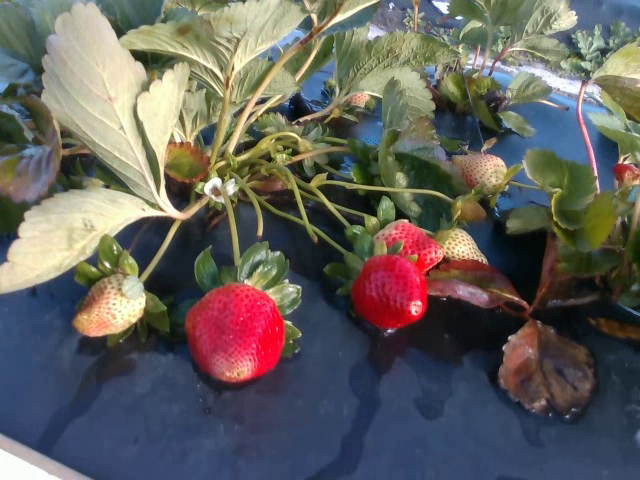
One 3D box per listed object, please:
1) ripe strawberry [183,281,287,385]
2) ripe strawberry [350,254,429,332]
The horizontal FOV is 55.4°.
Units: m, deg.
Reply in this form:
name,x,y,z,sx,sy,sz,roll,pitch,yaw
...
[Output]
name,x,y,z,sx,sy,sz,roll,pitch,yaw
ripe strawberry,-0.040,0.045,0.274,0.050,0.050,0.065,-20,14,4
ripe strawberry,0.037,0.030,0.308,0.045,0.042,0.055,-42,19,-5
